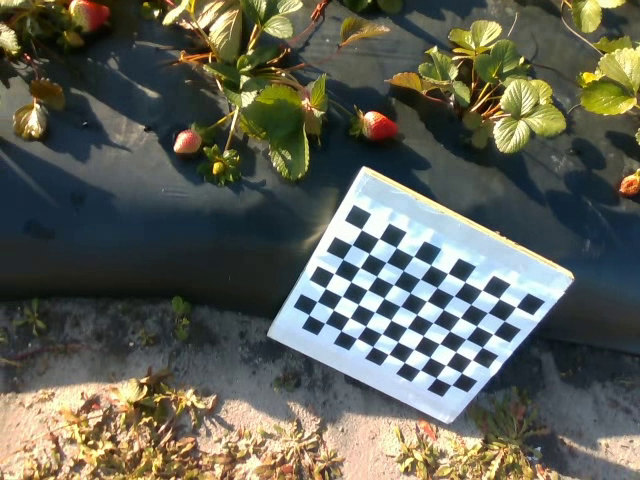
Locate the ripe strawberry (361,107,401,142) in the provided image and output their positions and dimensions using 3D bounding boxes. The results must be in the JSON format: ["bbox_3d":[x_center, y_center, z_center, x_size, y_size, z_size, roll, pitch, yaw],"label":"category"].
[{"bbox_3d":[0.083,-0.157,0.757,0.063,0.045,0.044,10,26,1],"label":"ripe strawberry"}]
